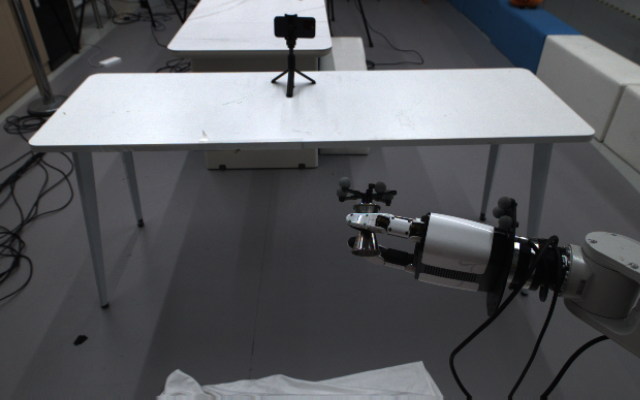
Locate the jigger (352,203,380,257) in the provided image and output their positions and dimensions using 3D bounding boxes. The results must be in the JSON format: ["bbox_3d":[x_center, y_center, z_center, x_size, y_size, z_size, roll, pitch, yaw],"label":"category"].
[{"bbox_3d":[0.064,0.040,0.682,0.043,0.043,0.071,3,72,1],"label":"jigger"}]
